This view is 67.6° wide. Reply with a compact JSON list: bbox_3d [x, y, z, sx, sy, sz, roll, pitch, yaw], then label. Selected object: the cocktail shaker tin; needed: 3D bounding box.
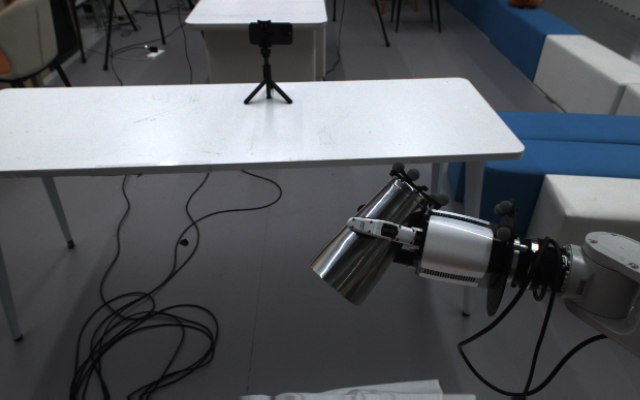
[{"bbox_3d":[0.074,0.050,0.676,0.170,0.093,0.093,-48,49,-3],"label":"cocktail shaker tin"}]
